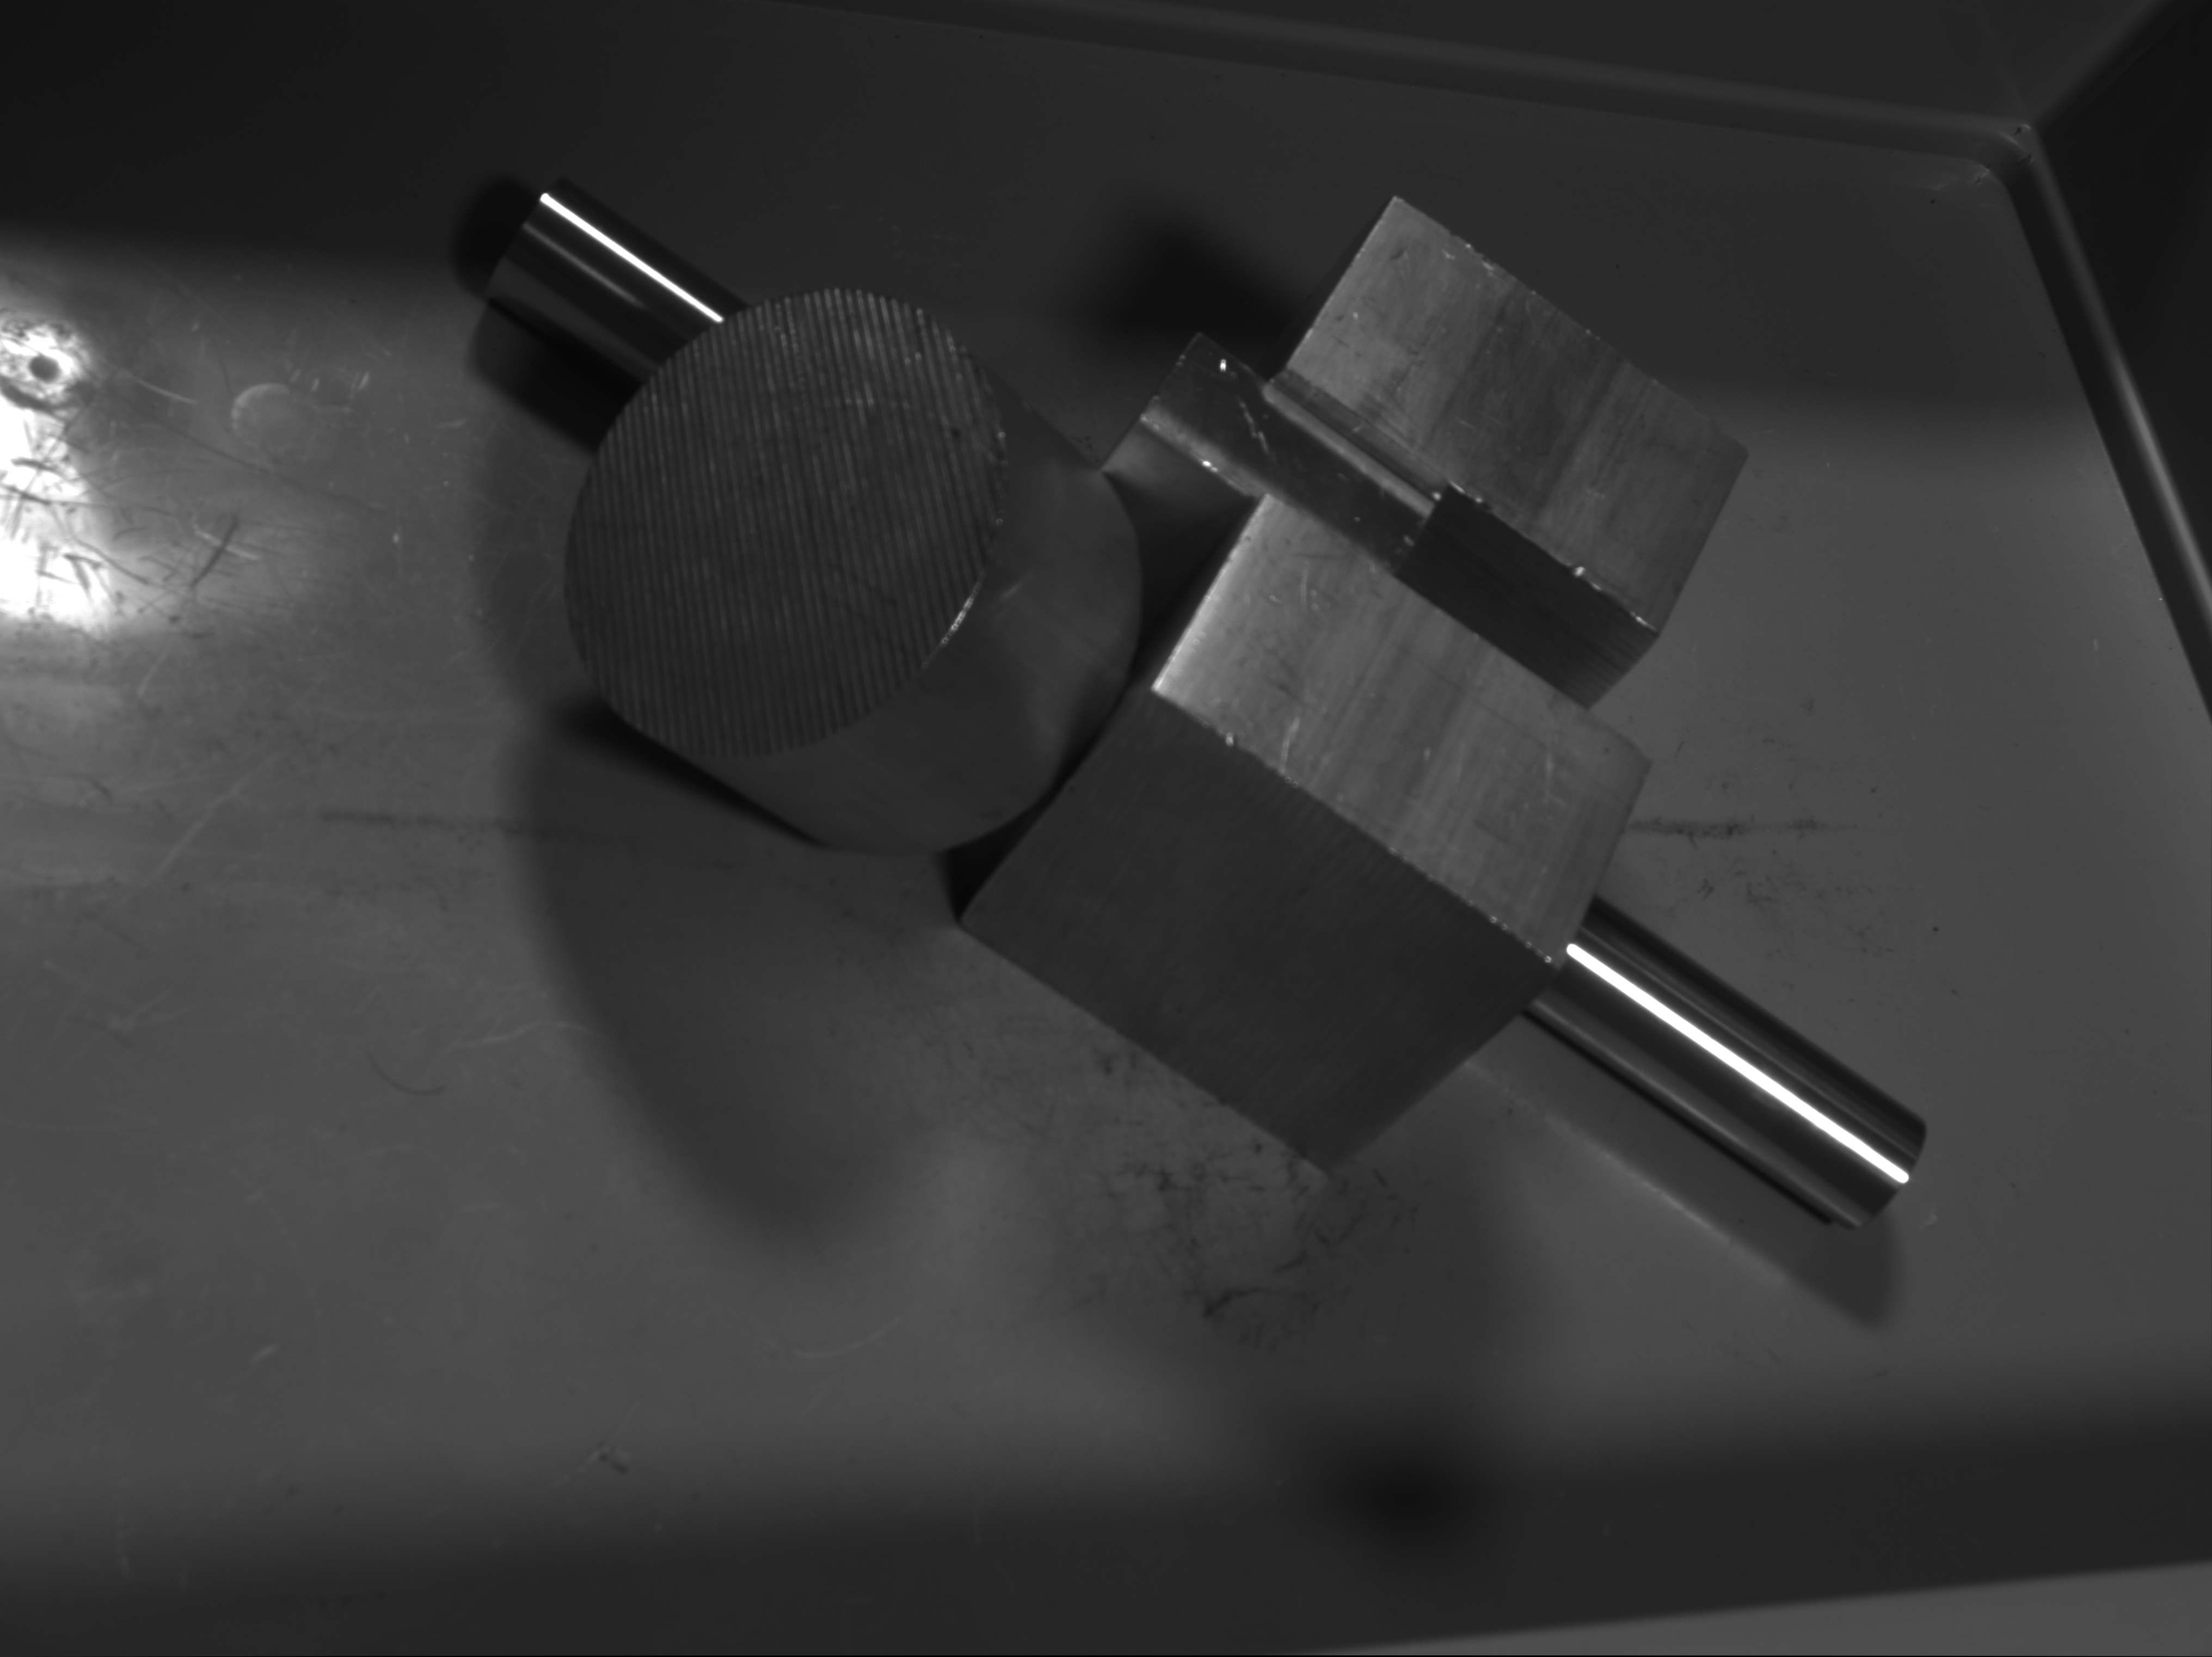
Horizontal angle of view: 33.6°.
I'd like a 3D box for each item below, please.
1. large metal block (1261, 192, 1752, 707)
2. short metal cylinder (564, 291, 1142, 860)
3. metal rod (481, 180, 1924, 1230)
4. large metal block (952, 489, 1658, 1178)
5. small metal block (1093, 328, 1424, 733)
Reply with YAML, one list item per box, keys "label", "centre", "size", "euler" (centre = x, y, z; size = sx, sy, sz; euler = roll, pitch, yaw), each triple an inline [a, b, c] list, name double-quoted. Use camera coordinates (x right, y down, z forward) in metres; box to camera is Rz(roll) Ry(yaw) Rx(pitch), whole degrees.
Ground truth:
- label: "large metal block"
  centre: [0.056, -0.054, 0.668]
  size: [0.080, 0.080, 0.050]
  euler: [35, 51, -5]
- label: "short metal cylinder"
  centre: [-0.041, -0.041, 0.598]
  size: [0.050, 0.080, 0.080]
  euler: [37, 36, -58]
- label: "metal rod"
  centre: [0.020, -0.020, 0.663]
  size: [0.300, 0.025, 0.025]
  euler: [34, 51, -6]
- label: "large metal block"
  centre: [0.033, 0.003, 0.620]
  size: [0.080, 0.080, 0.050]
  euler: [34, 51, -6]
- label: "small metal block"
  centre: [0.018, -0.050, 0.633]
  size: [0.050, 0.050, 0.025]
  euler: [35, 51, -5]
